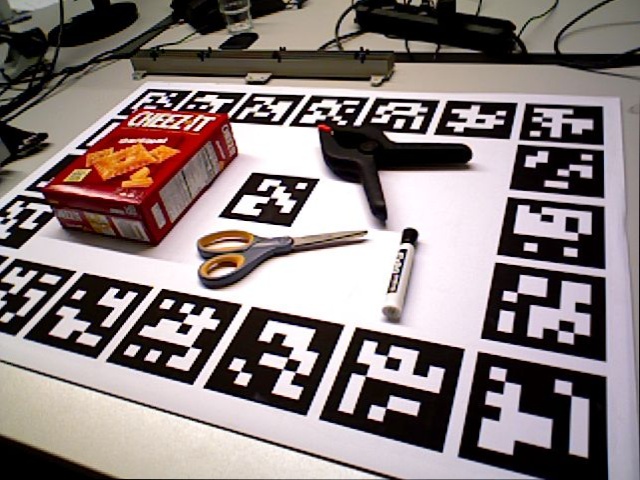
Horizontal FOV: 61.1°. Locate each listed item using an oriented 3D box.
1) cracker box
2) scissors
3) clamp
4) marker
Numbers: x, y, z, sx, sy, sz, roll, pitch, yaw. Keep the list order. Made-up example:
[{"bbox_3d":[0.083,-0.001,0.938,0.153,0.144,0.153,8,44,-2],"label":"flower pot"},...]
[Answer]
[{"bbox_3d":[-0.234,-0.092,0.727,0.165,0.073,0.208,8,44,22],"label":"cracker box"},{"bbox_3d":[-0.042,0.006,0.605,0.202,0.016,0.086,-11,39,-2],"label":"scissors"},{"bbox_3d":[0.068,-0.104,0.715,0.162,0.037,0.203,-33,45,-25],"label":"clamp"},{"bbox_3d":[0.089,0.025,0.549,0.020,0.020,0.118,5,42,18],"label":"marker"}]
